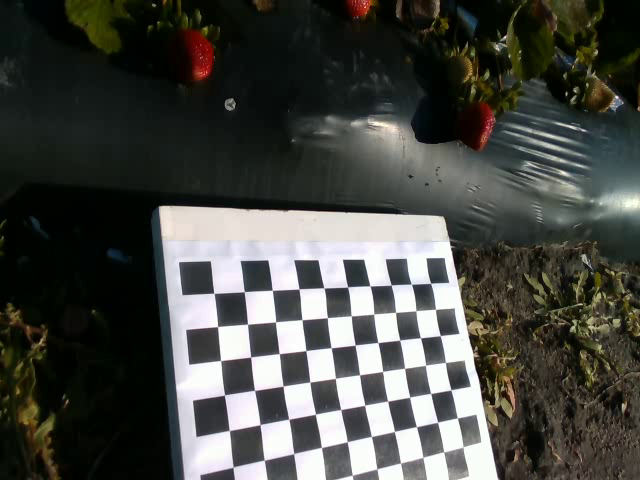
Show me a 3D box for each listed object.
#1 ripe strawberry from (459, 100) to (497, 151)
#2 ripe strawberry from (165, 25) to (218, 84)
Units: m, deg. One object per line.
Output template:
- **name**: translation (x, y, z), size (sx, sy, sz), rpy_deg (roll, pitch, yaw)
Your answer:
- **ripe strawberry**: translation (0.143, -0.103, 0.595), size (0.042, 0.059, 0.042), rpy_deg (27, -40, -30)
- **ripe strawberry**: translation (-0.095, -0.134, 0.480), size (0.045, 0.042, 0.055), rpy_deg (12, 37, -36)
